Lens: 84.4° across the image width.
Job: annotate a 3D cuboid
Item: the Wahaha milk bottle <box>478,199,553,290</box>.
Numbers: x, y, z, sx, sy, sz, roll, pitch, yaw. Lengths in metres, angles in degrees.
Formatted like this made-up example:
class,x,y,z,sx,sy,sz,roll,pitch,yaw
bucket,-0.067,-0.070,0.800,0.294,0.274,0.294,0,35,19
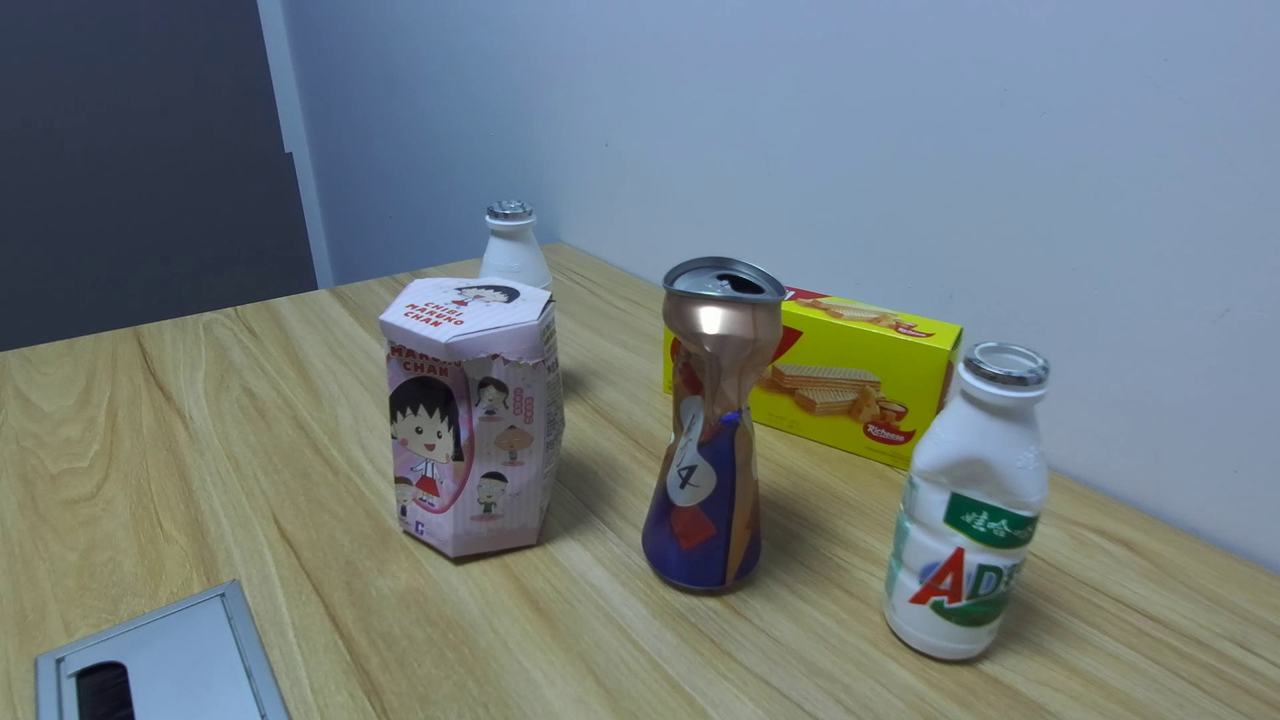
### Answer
class,x,y,z,sx,sy,sz,roll,pitch,yaw
Wahaha milk bottle,-0.088,-0.037,0.507,0.053,0.147,0.053,2,23,-1

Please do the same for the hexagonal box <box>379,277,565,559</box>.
class,x,y,z,sx,sy,sz,roll,pitch,yaw
hexagonal box,-0.091,0.029,0.391,0.090,0.134,0.091,-4,26,-16

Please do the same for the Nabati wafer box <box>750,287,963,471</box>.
class,x,y,z,sx,sy,sz,roll,pitch,yaw
Nabati wafer box,0.110,0.002,0.495,0.202,0.093,0.042,17,30,28

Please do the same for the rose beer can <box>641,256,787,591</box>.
class,x,y,z,sx,sy,sz,roll,pitch,yaw
rose beer can,0.034,0.036,0.354,0.068,0.162,0.073,-17,31,-35
